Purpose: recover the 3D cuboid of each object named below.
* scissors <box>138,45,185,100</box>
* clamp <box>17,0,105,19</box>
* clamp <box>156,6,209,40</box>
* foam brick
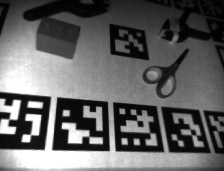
[{"bbox_3d":[0.140,-0.052,0.544,0.088,0.016,0.204,44,57,-2],"label":"scissors"},{"bbox_3d":[-0.117,-0.217,0.532,0.204,0.036,0.164,3,60,-19],"label":"clamp"},{"bbox_3d":[0.196,-0.176,0.625,0.166,0.036,0.121,-22,80,-27],"label":"clamp"},{"bbox_3d":[-0.128,-0.100,0.462,0.078,0.051,0.052,11,62,-8],"label":"foam brick"}]
